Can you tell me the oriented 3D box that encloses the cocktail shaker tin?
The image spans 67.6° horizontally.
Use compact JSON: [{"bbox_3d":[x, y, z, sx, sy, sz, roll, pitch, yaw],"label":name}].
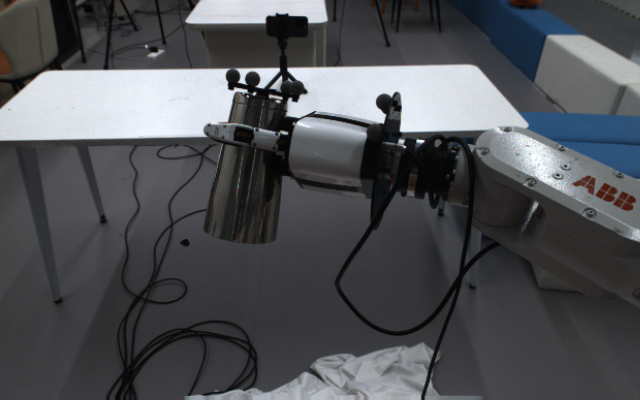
[{"bbox_3d":[-0.082,-0.043,0.596,0.093,0.170,0.093,10,9,-2],"label":"cocktail shaker tin"}]
